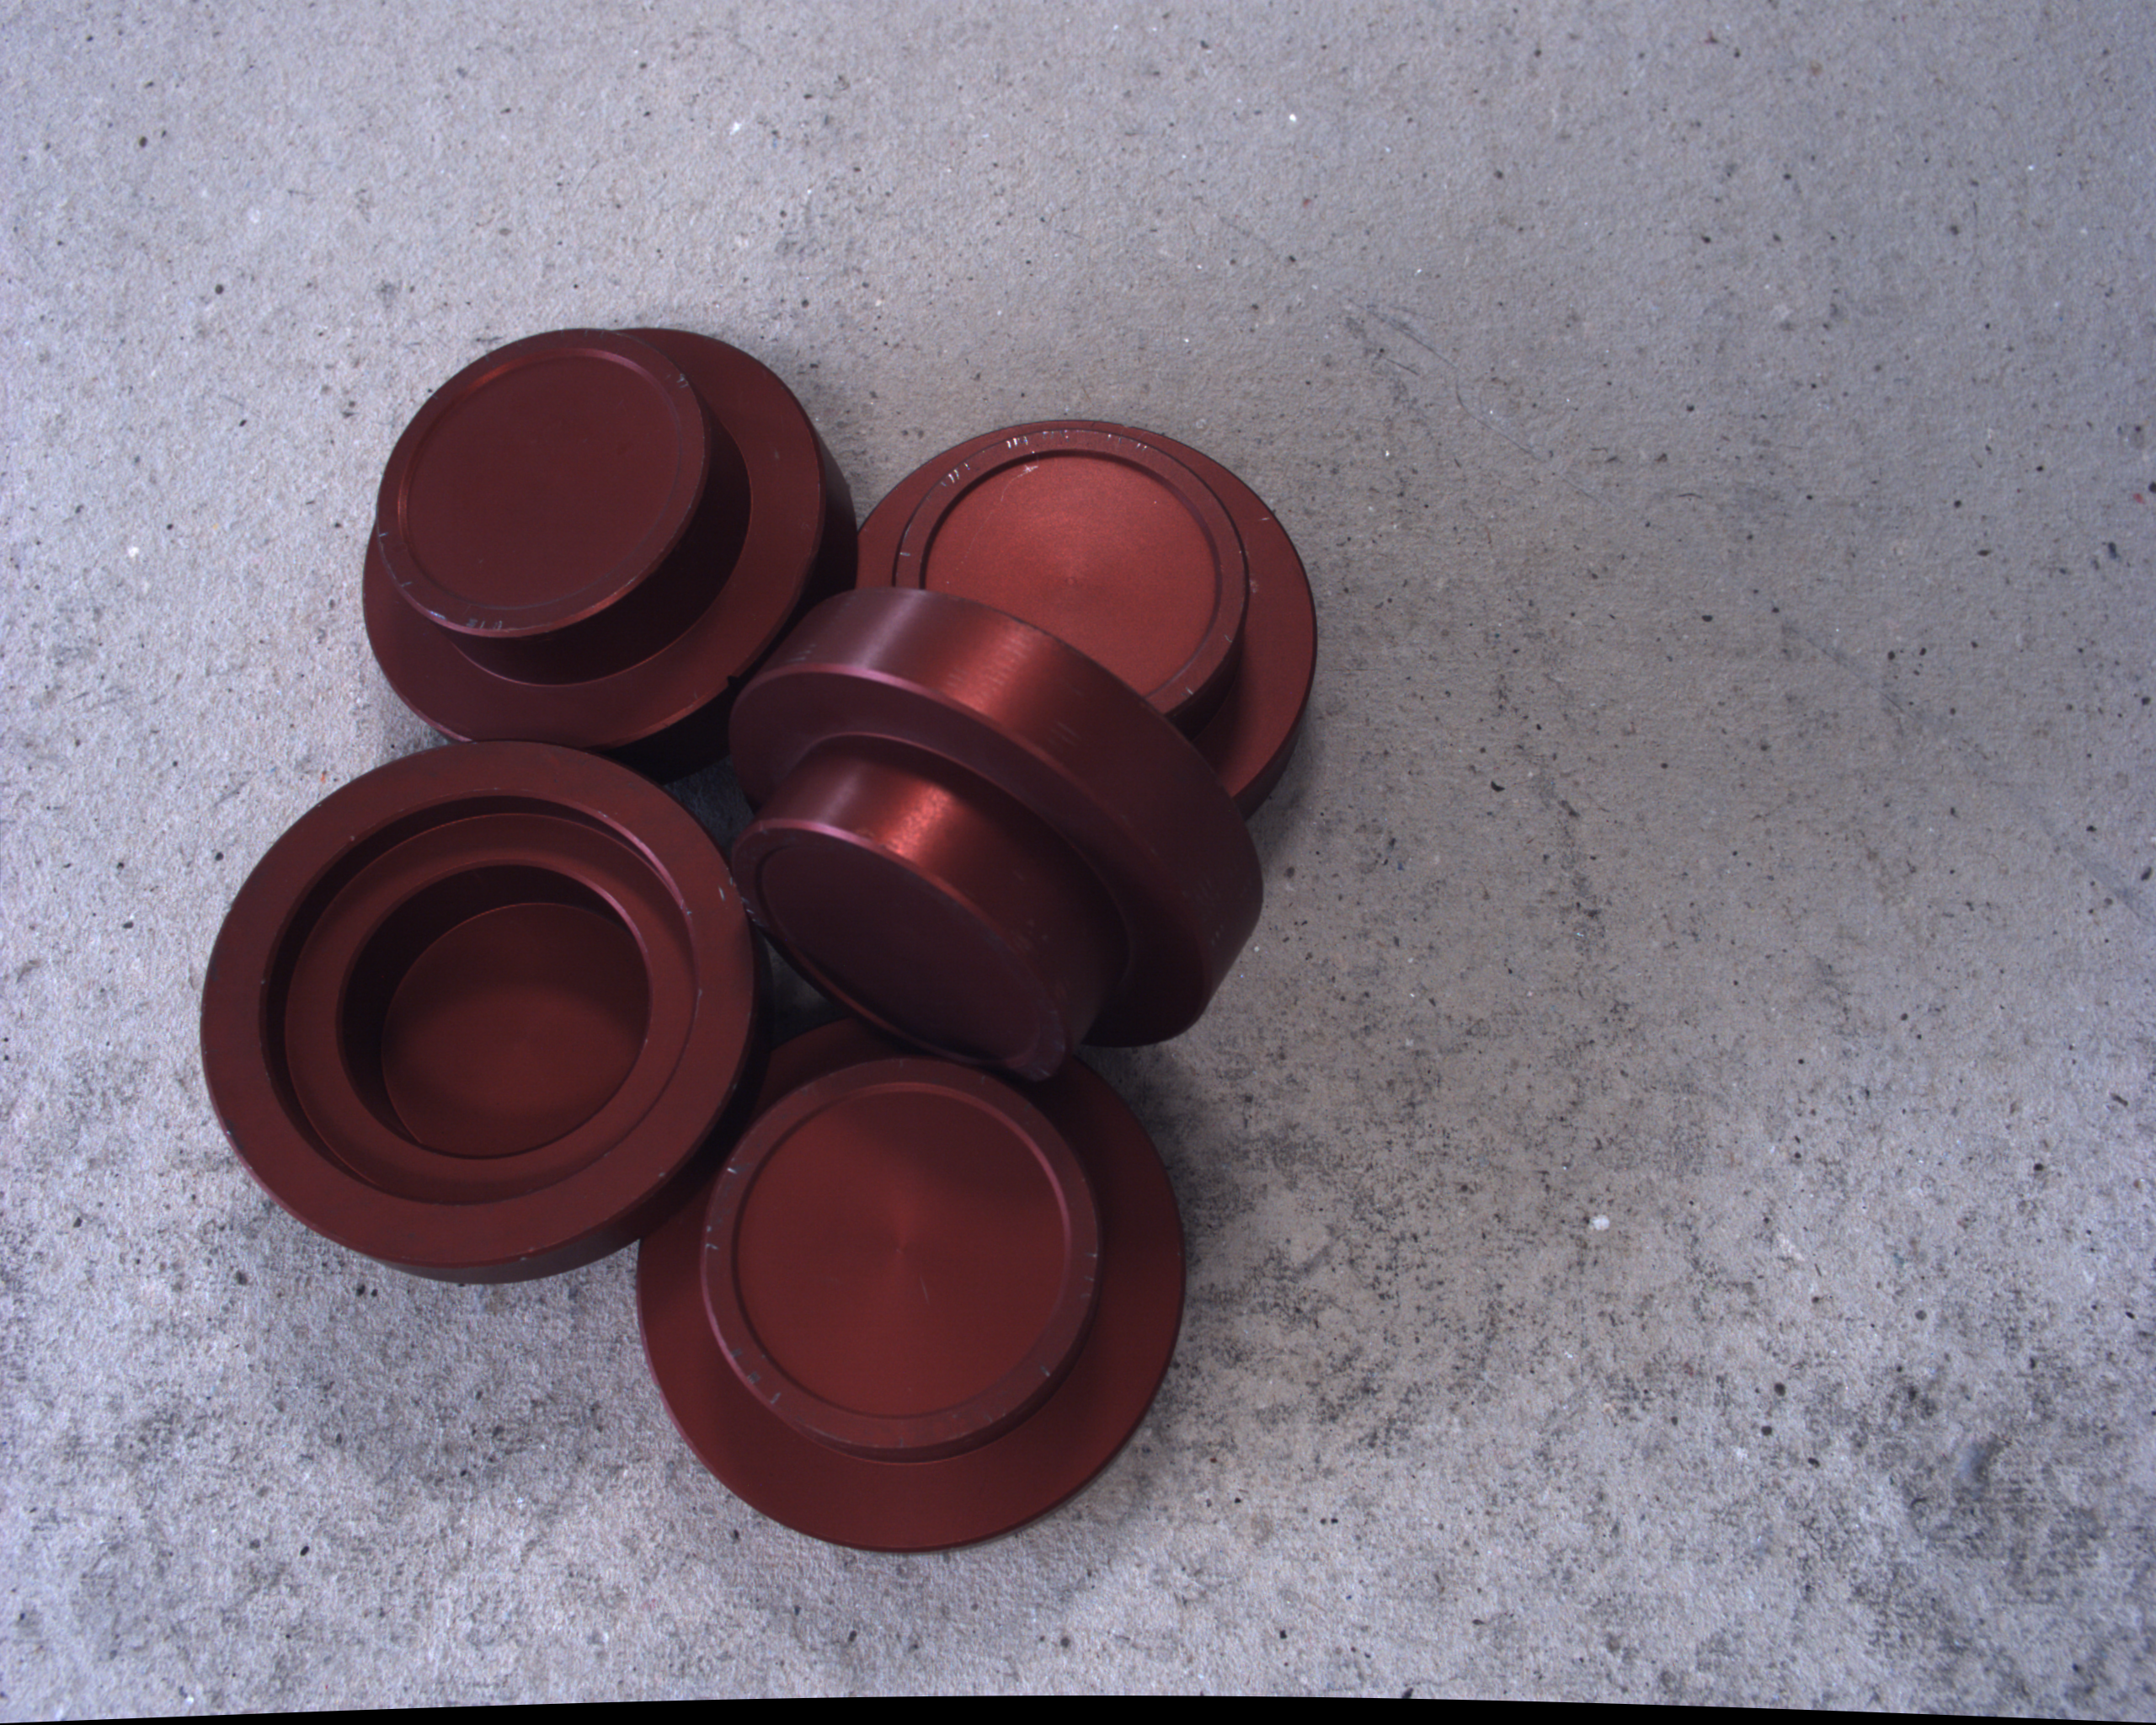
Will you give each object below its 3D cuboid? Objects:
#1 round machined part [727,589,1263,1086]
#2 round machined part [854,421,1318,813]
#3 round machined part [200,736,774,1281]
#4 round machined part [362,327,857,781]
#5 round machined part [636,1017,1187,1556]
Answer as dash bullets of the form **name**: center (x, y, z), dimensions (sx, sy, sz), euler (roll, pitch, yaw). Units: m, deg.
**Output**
- **round machined part**: center (-0.021, 0.002, 0.367), dimensions (0.098, 0.097, 0.042), euler (28, 59, 9)
- **round machined part**: center (-0.001, -0.047, 0.417), dimensions (0.099, 0.042, 0.098), euler (0, 69, -1)
- **round machined part**: center (-0.106, 0.029, 0.389), dimensions (0.099, 0.042, 0.098), euler (0, 71, 0)
- **round machined part**: center (-0.097, -0.065, 0.412), dimensions (0.098, 0.042, 0.098), euler (-5, 67, 12)
- **round machined part**: center (-0.030, 0.072, 0.373), dimensions (0.099, 0.042, 0.098), euler (0, 68, -1)
